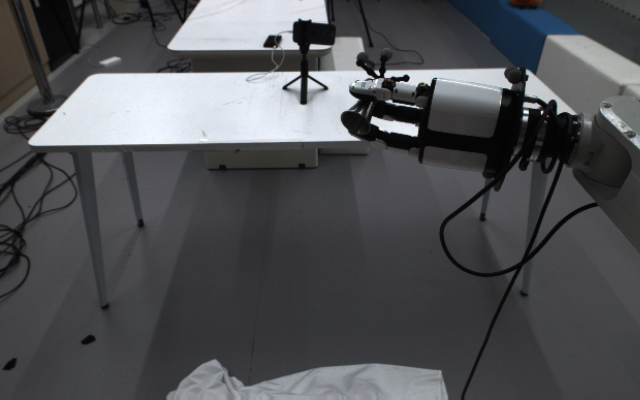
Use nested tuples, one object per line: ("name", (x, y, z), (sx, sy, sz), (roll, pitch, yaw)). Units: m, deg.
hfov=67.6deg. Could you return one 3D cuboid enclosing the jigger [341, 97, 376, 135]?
("jigger", (0.061, -0.132, 0.655), (0.043, 0.043, 0.071), (19, 61, 23))
